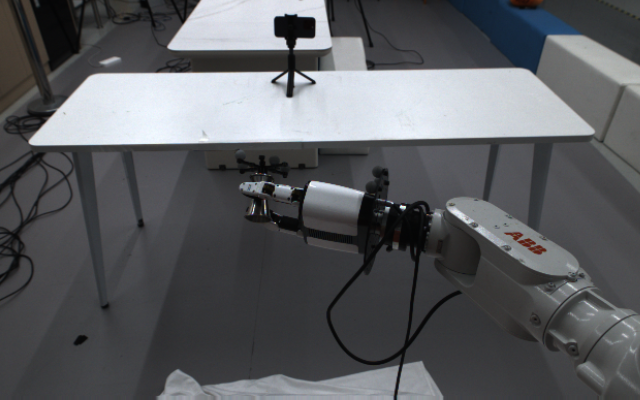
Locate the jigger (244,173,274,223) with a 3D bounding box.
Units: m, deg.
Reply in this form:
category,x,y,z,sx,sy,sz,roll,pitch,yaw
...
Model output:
category,x,y,z,sx,sy,sz,roll,pitch,yaw
jigger,-0.094,-0.004,0.748,0.043,0.043,0.071,3,72,1
